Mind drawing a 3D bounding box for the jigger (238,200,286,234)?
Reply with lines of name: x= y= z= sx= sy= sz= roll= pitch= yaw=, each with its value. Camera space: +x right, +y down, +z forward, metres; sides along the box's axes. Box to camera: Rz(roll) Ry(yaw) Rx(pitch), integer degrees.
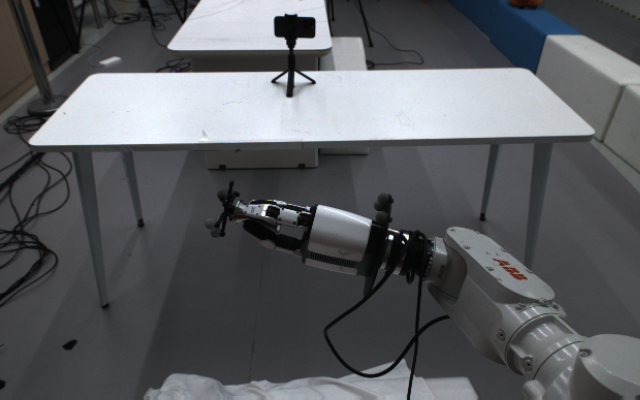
jigger: x=-0.087 y=0.022 z=0.737 sx=0.071 sy=0.043 sz=0.043 roll=13 pitch=36 yaw=4
